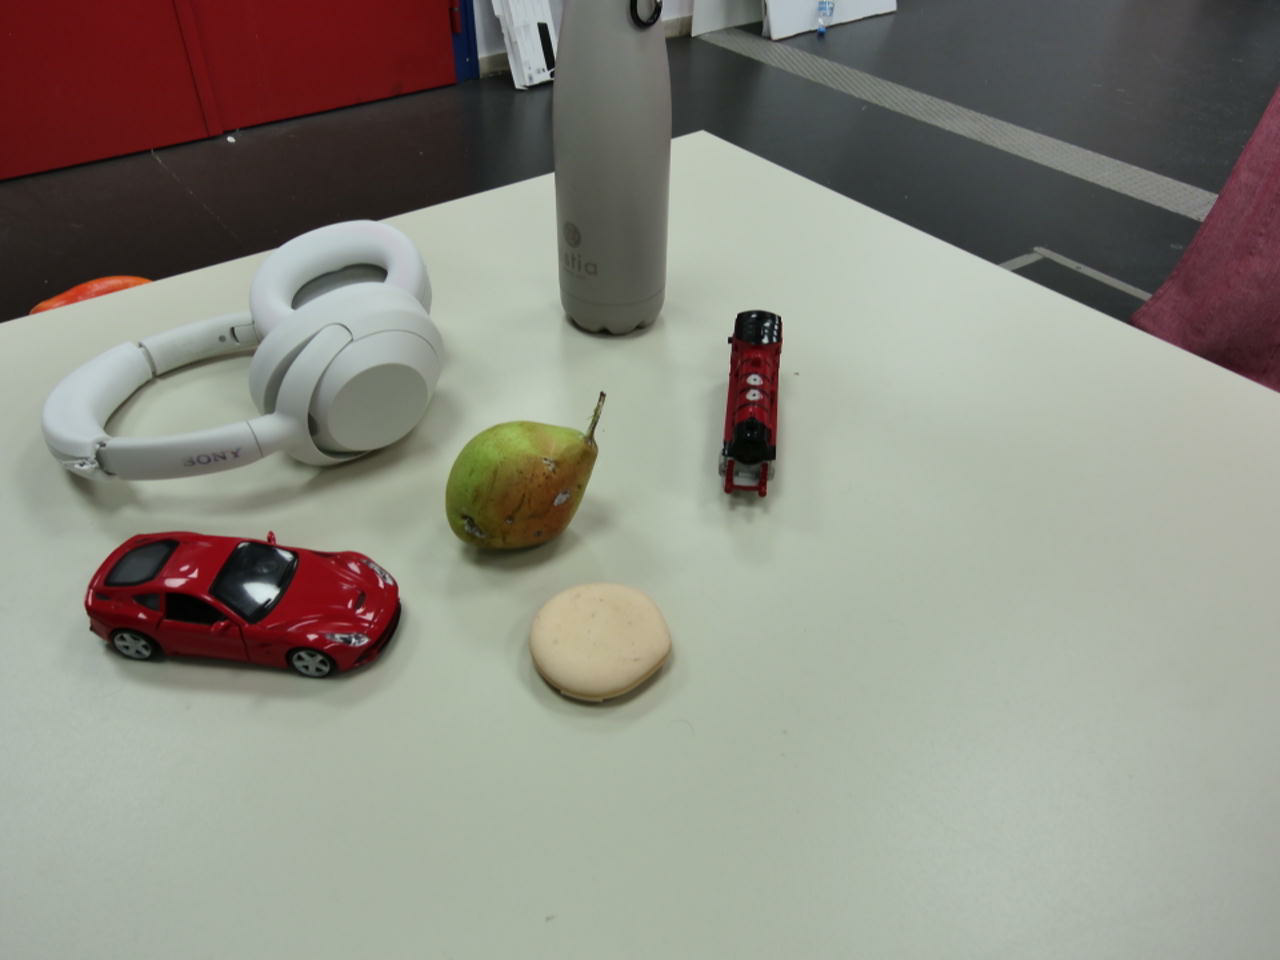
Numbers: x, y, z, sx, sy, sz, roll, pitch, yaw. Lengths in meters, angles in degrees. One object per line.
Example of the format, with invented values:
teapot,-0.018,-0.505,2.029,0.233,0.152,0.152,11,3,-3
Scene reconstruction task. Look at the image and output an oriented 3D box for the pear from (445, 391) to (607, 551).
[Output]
pear,-0.057,0.000,0.487,0.070,0.069,0.068,8,39,10
